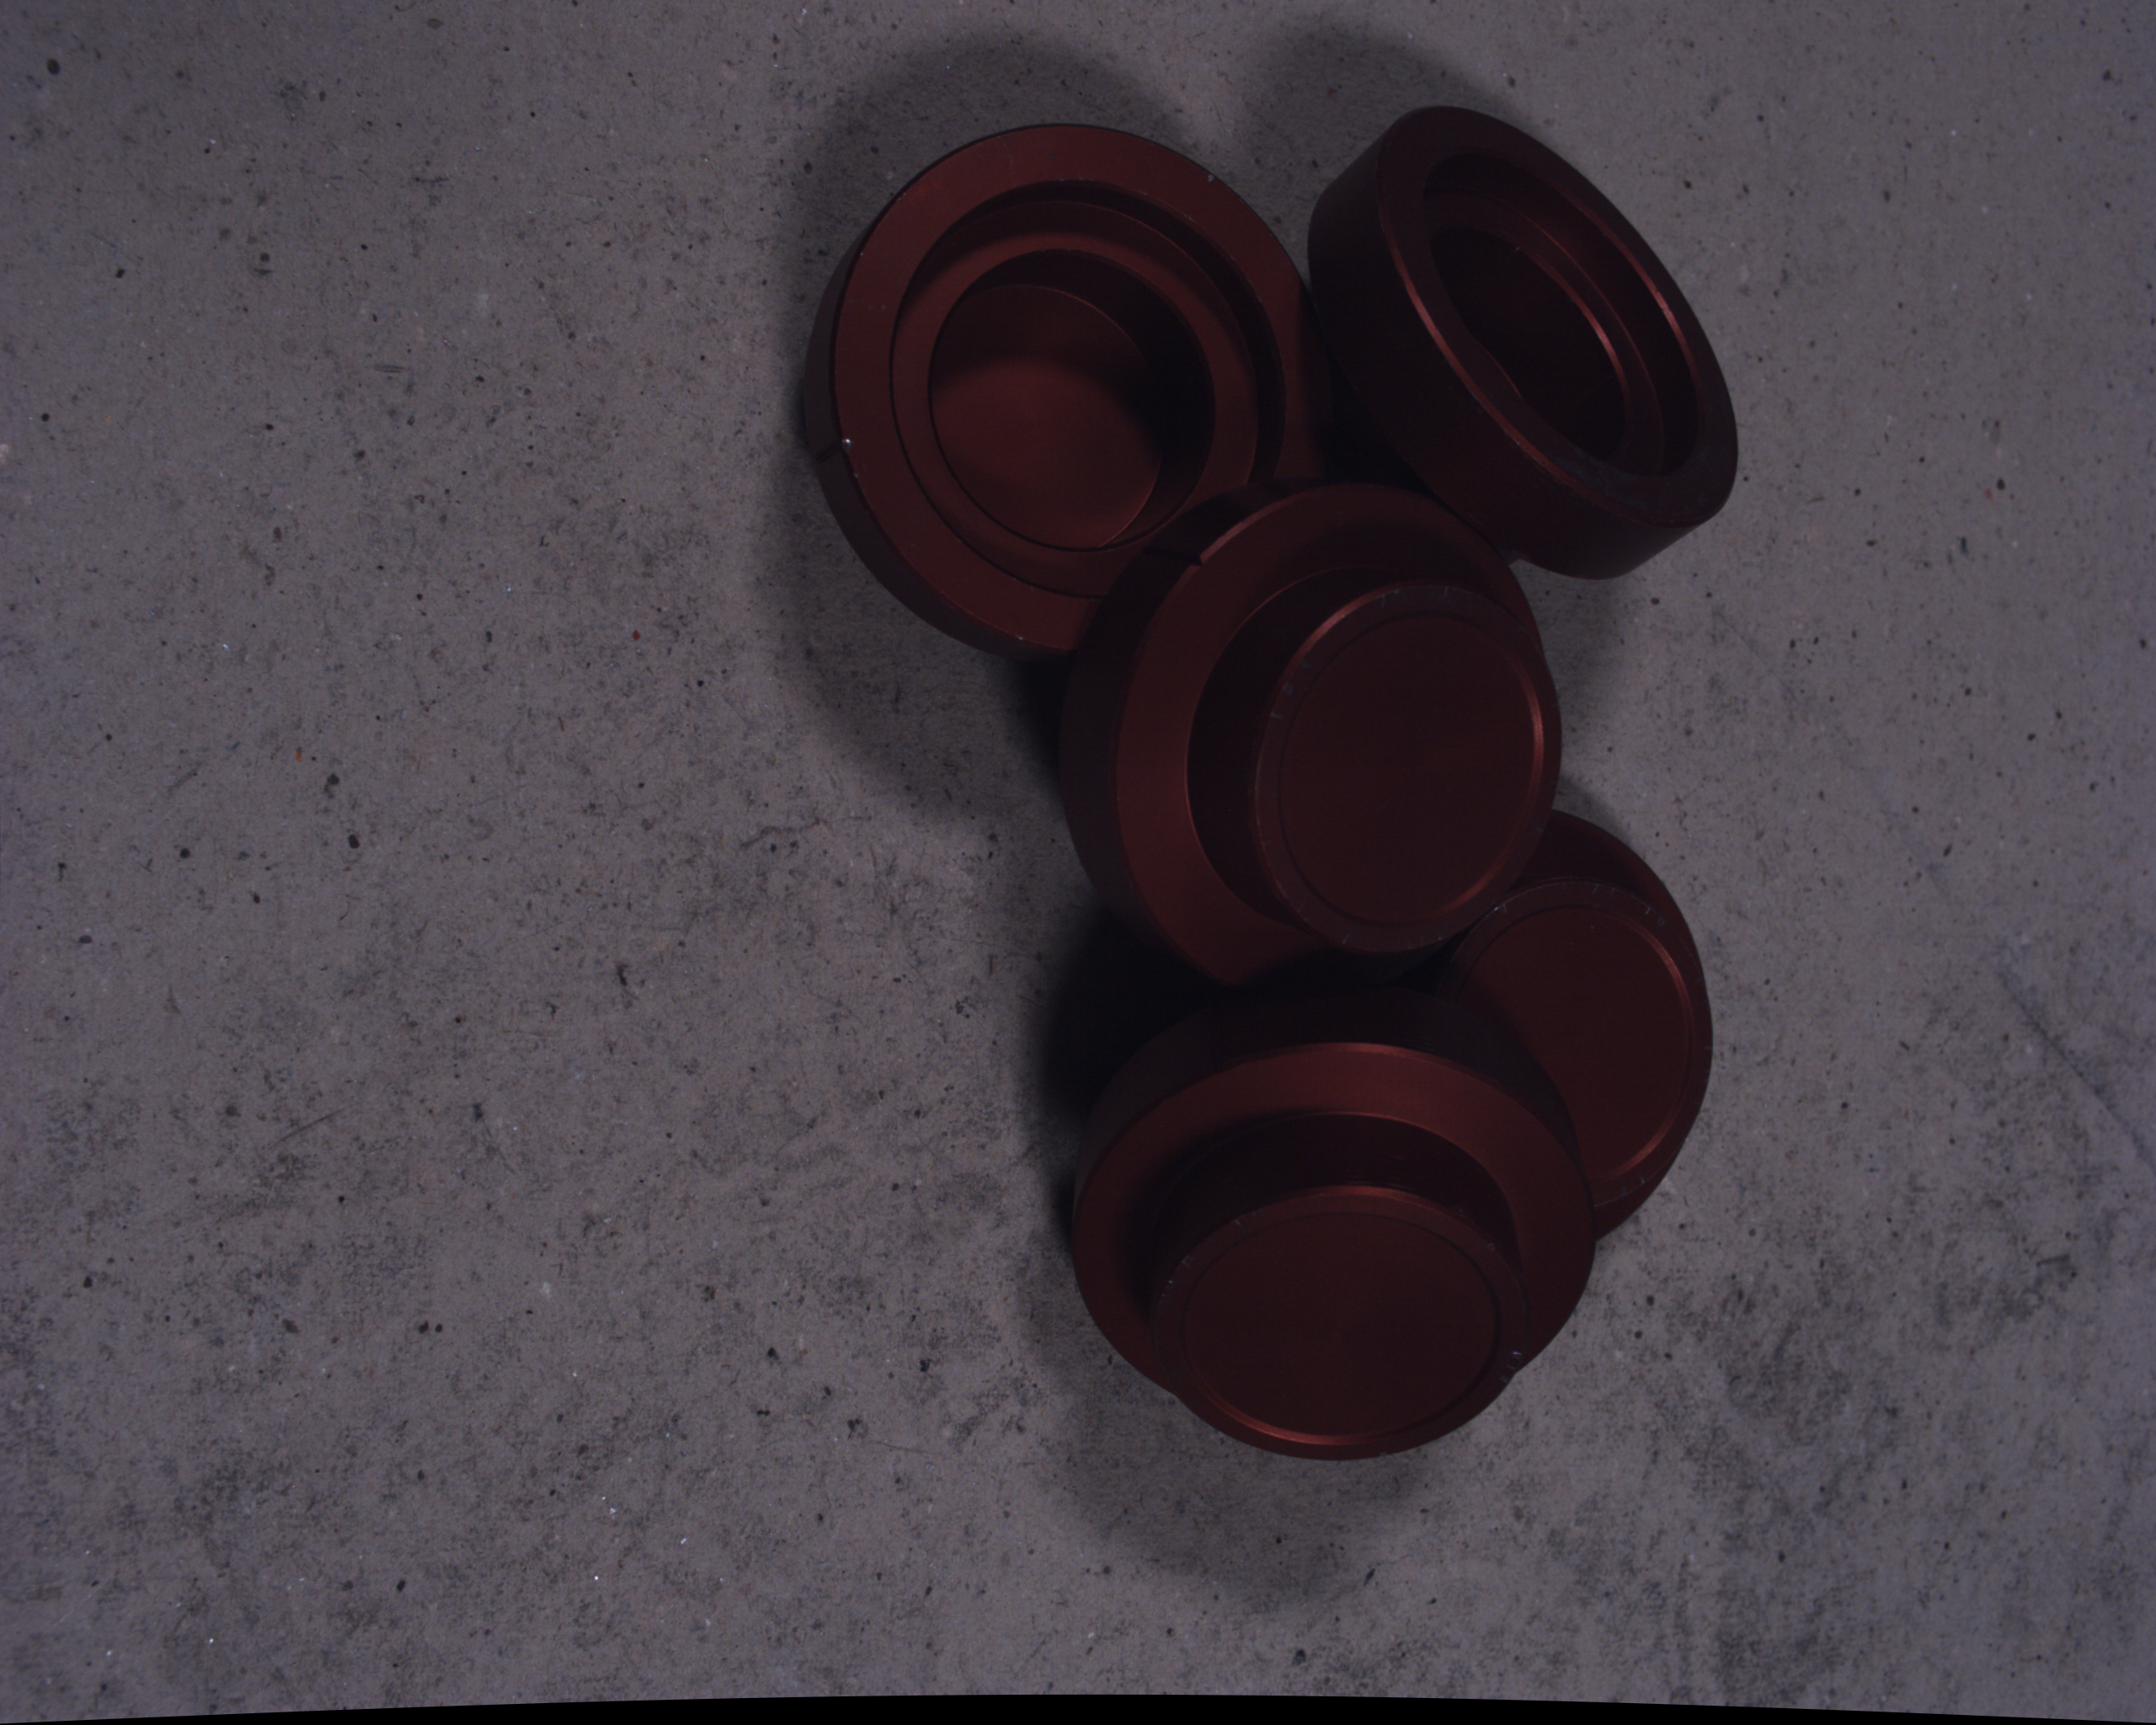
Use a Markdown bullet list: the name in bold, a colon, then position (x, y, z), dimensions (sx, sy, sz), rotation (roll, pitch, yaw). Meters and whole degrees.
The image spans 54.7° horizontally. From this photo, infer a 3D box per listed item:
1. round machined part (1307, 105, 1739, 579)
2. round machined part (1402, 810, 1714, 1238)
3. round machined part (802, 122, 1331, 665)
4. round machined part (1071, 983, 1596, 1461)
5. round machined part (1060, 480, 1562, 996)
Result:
- **round machined part**: position (0.083, -0.099, 0.418), dimensions (0.099, 0.042, 0.098), rotation (20, 54, -29)
- **round machined part**: position (0.092, 0.037, 0.437), dimensions (0.099, 0.042, 0.097), rotation (0, 90, -21)
- **round machined part**: position (-0.005, -0.087, 0.400), dimensions (0.099, 0.042, 0.097), rotation (0, 90, -21)
- **round machined part**: position (0.048, 0.074, 0.393), dimensions (0.099, 0.042, 0.097), rotation (1, 122, 2)
- **round machined part**: position (0.050, -0.021, 0.385), dimensions (0.099, 0.042, 0.097), rotation (-6, 104, -27)
